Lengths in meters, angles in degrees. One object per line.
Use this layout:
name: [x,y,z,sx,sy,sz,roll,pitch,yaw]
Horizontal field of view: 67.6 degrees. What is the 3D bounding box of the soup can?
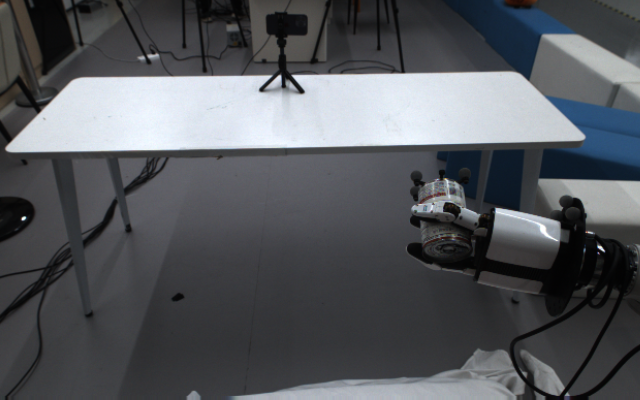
soup can: [0.176,0.028,0.684,0.067,0.067,0.101,3,57,1]
